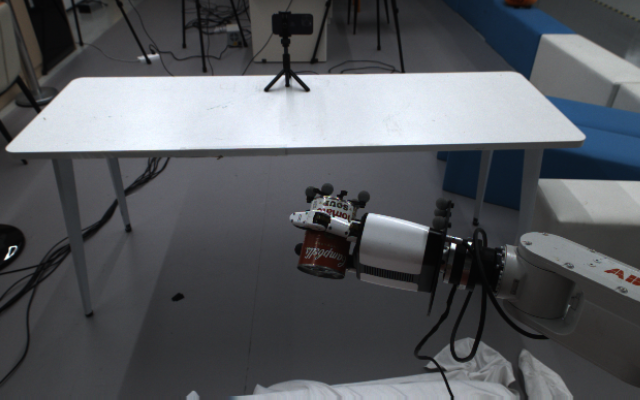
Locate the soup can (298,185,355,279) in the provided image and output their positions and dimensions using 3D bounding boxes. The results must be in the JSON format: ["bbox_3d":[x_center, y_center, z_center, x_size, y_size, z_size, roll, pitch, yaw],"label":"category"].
[{"bbox_3d":[0.012,0.053,0.675,0.067,0.067,0.101,9,71,9],"label":"soup can"}]
